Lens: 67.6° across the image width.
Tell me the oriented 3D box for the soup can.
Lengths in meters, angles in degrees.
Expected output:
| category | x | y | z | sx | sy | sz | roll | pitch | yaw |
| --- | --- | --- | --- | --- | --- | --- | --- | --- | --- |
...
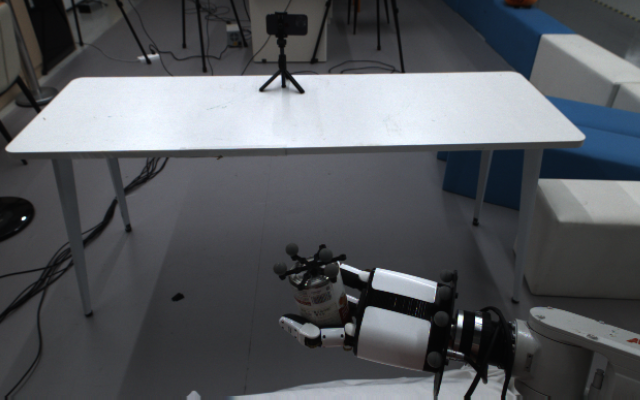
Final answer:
| category | x | y | z | sx | sy | sz | roll | pitch | yaw |
| --- | --- | --- | --- | --- | --- | --- | --- | --- | --- |
| soup can | 0.004 | 0.132 | 0.632 | 0.067 | 0.101 | 0.067 | -11 | 27 | 6 |
